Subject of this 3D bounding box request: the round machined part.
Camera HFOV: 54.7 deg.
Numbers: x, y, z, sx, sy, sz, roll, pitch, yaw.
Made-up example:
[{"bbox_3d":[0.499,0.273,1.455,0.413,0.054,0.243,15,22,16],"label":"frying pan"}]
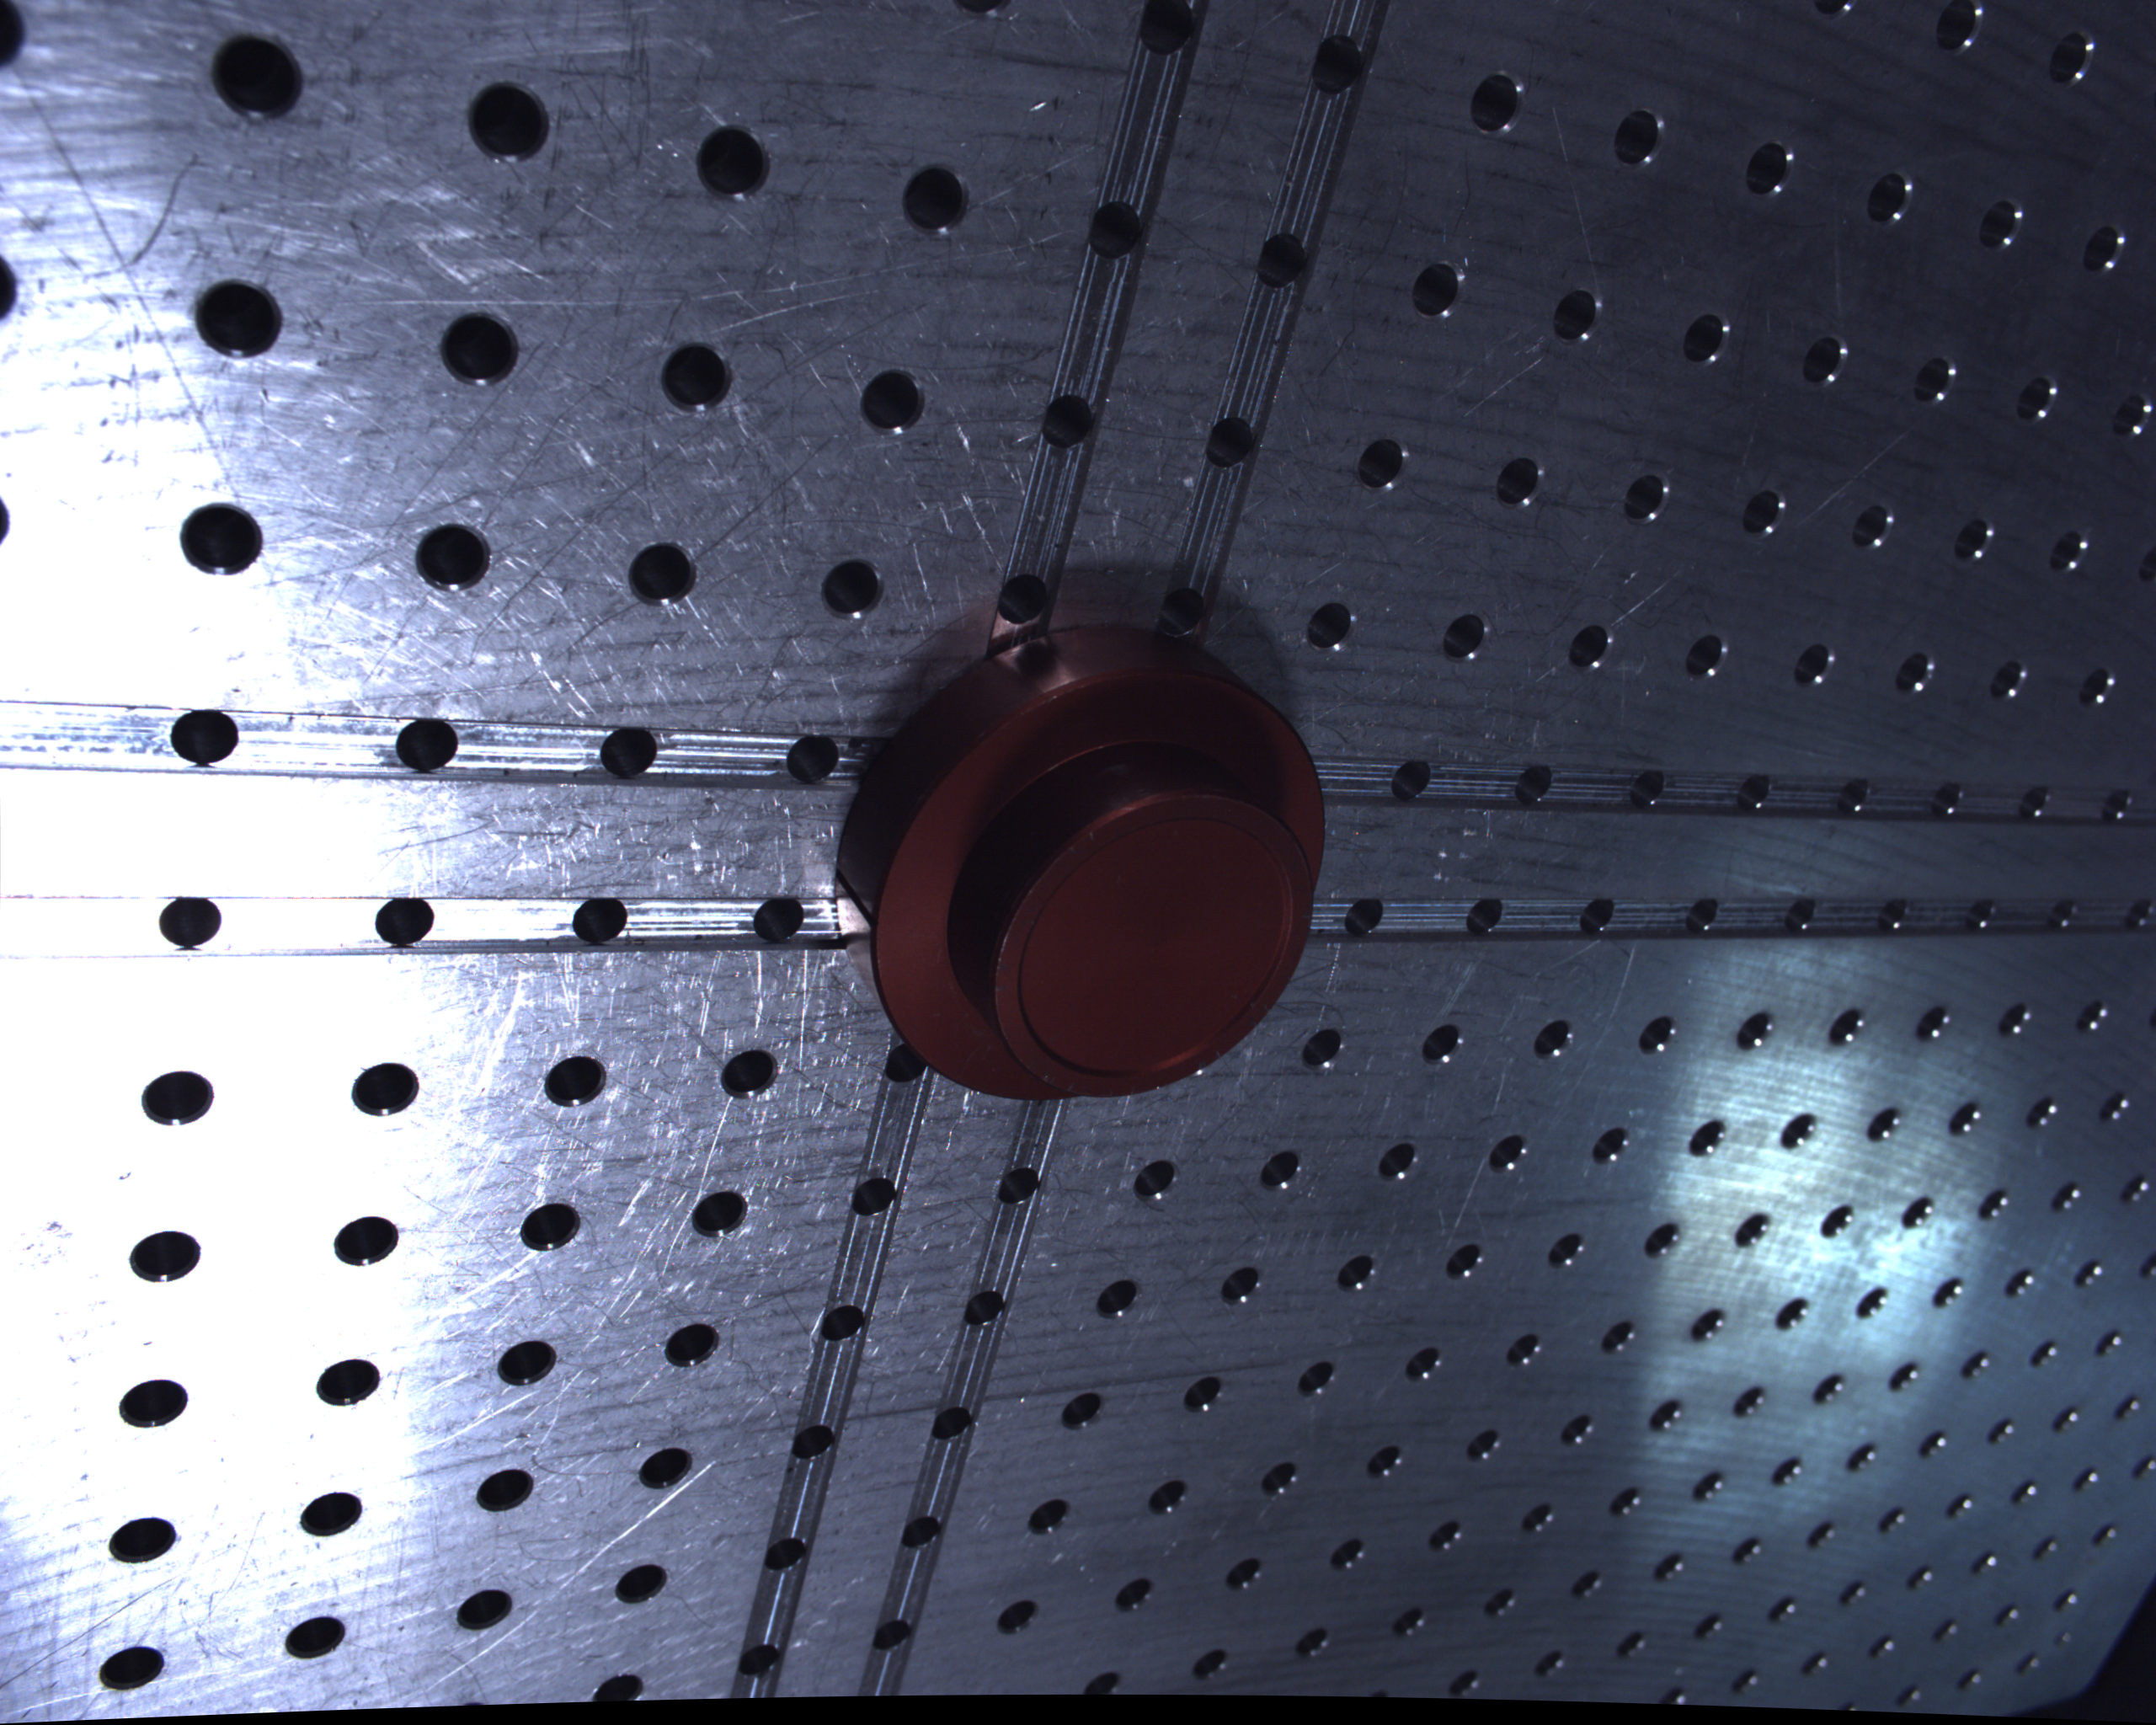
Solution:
[{"bbox_3d":[0.006,0.007,0.409,0.099,0.042,0.097,-14,125,-21],"label":"round machined part"}]
